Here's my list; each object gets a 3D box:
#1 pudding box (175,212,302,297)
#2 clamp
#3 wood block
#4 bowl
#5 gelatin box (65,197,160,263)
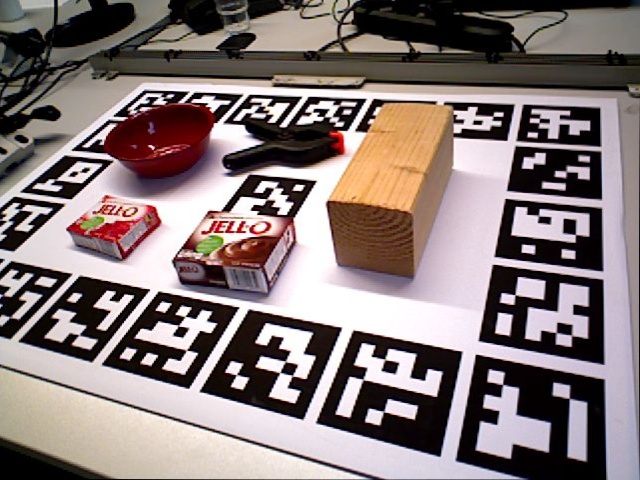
[{"bbox_3d":[-0.087,0.014,0.594,0.114,0.039,0.088,5,48,22],"label":"pudding box"},{"bbox_3d":[-0.057,-0.132,0.764,0.165,0.037,0.119,1,43,12],"label":"clamp"},{"bbox_3d":[0.095,-0.062,0.594,0.090,0.093,0.201,11,46,21],"label":"wood block"},{"bbox_3d":[-0.223,-0.133,0.787,0.161,0.056,0.159,-7,44,6],"label":"bowl"},{"bbox_3d":[-0.256,-0.015,0.671,0.090,0.031,0.071,14,49,26],"label":"gelatin box"}]
